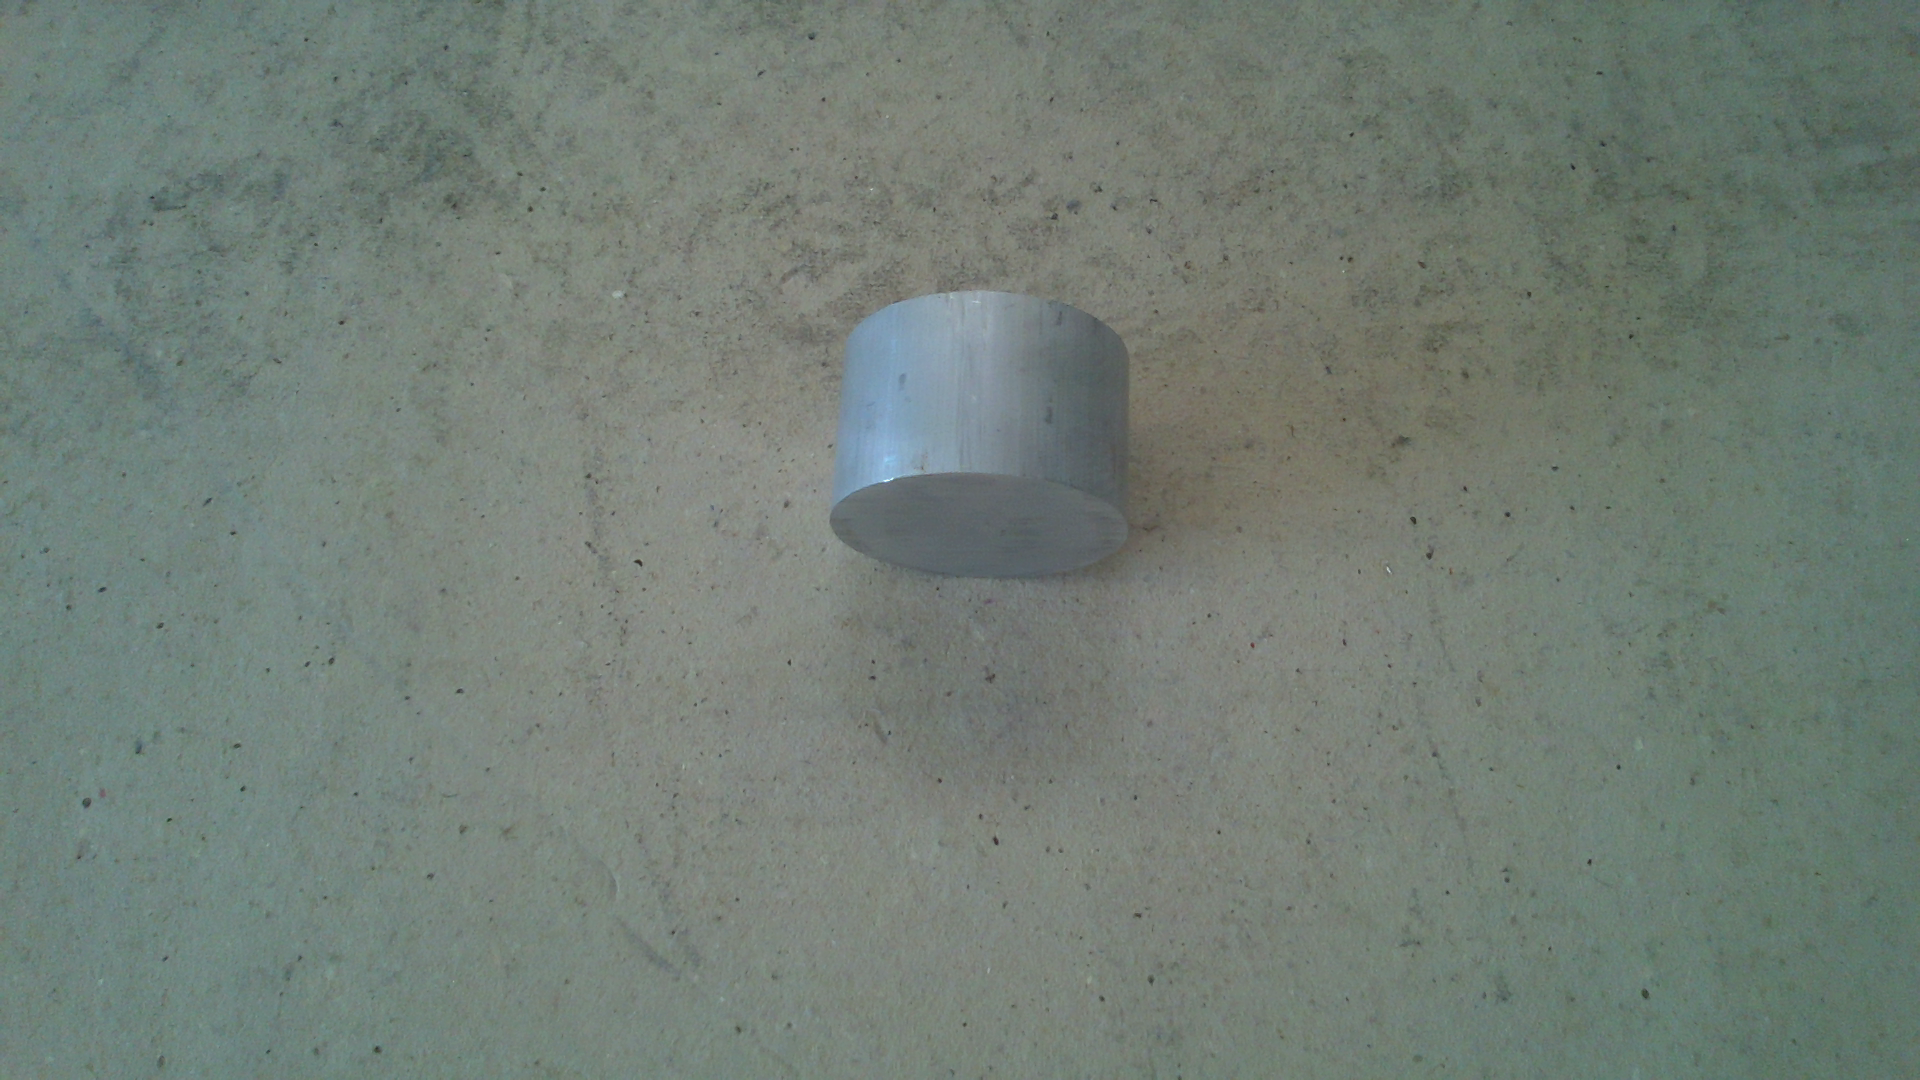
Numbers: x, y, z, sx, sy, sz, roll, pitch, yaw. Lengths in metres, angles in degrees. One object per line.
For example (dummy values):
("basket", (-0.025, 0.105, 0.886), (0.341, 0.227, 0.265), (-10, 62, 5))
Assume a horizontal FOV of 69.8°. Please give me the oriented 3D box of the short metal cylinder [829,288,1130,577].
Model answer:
("short metal cylinder", (0.006, -0.026, 0.375), (0.080, 0.080, 0.050), (2, 70, 1))
